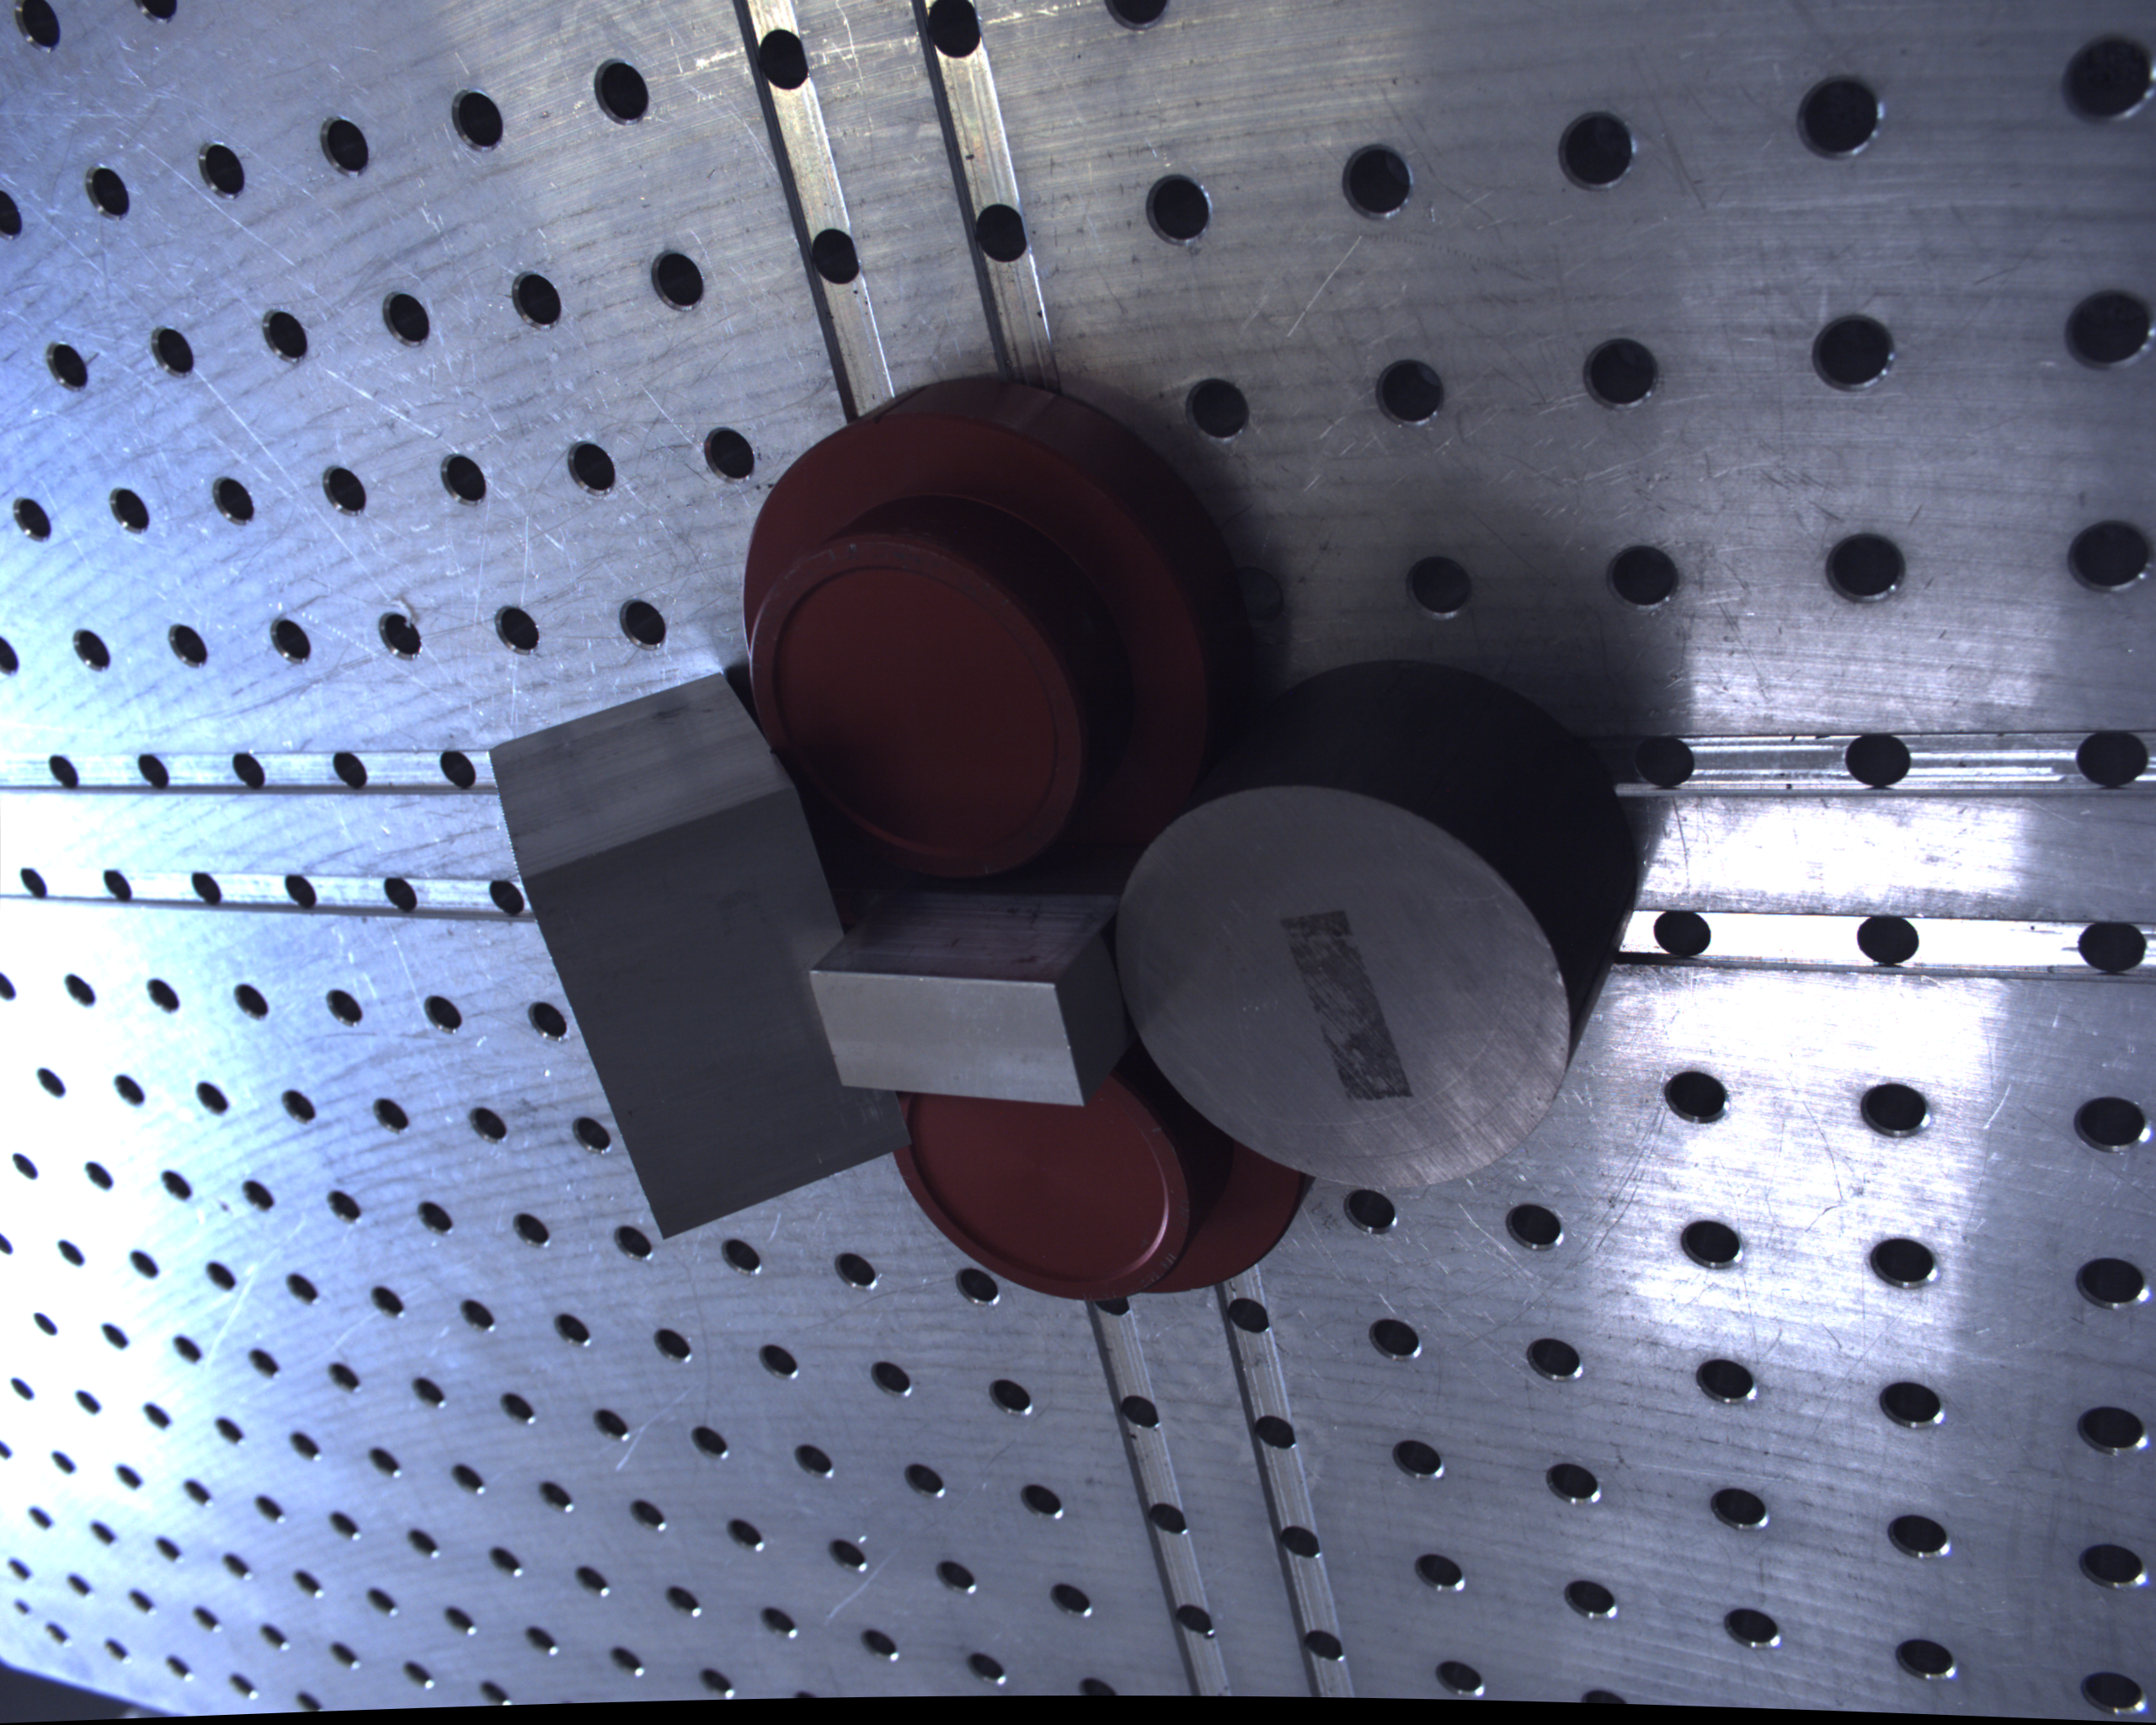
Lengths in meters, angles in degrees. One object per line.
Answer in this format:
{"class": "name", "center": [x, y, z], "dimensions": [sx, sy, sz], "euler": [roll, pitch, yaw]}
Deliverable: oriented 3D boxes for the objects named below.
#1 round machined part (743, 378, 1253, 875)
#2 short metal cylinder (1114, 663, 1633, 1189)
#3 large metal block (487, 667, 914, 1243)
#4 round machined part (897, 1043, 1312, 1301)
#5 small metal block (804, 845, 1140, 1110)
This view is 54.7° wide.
{"class": "round machined part", "center": [-0.021, -0.037, 0.389], "dimensions": [0.098, 0.042, 0.097], "euler": [13, 124, 21]}
{"class": "short metal cylinder", "center": [0.053, 0.011, 0.372], "dimensions": [0.080, 0.050, 0.079], "euler": [13, 124, 21]}
{"class": "large metal block", "center": [-0.077, 0.015, 0.418], "dimensions": [0.050, 0.080, 0.080], "euler": [-20, 115, -12]}
{"class": "round machined part", "center": [0.001, 0.051, 0.432], "dimensions": [0.098, 0.042, 0.097], "euler": [13, 124, 21]}
{"class": "small metal block", "center": [-0.014, 0.019, 0.386], "dimensions": [0.050, 0.050, 0.025], "euler": [2, 119, 27]}
